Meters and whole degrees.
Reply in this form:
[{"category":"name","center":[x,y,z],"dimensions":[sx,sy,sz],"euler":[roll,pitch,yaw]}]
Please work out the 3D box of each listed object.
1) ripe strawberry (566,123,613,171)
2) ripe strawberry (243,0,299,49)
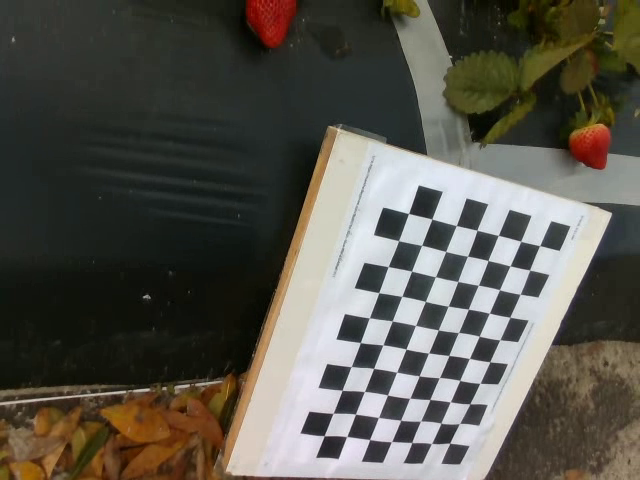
[{"category":"ripe strawberry","center":[0.231,-0.081,0.509],"dimensions":[0.039,0.047,0.041],"euler":[-19,19,-2]},{"category":"ripe strawberry","center":[-0.028,-0.139,0.354],"dimensions":[0.036,0.046,0.040],"euler":[0,-24,-9]}]
